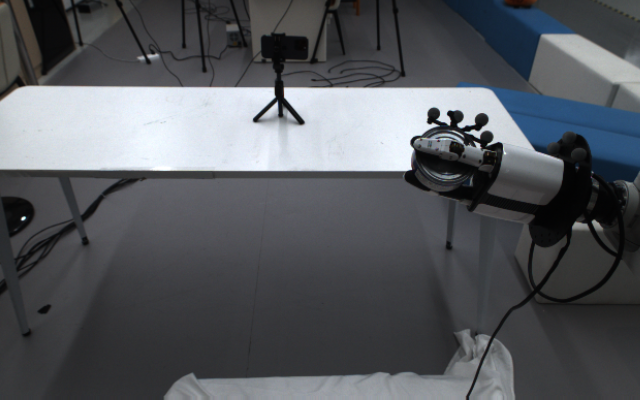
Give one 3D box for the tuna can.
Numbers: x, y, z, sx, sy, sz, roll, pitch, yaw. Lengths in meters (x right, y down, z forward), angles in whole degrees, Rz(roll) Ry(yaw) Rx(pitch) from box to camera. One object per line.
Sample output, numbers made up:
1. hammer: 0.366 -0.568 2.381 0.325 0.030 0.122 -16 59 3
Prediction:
1. tuna can: 0.170 -0.059 0.664 0.085 0.034 0.085 0 72 0
